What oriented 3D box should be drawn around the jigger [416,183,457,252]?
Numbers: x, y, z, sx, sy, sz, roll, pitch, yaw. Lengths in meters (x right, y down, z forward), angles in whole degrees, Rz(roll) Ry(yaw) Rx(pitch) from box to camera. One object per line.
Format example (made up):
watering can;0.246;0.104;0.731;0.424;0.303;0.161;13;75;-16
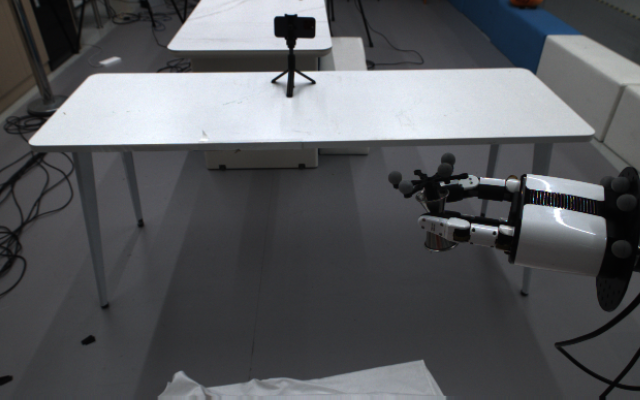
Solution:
jigger;0.144;0.023;0.594;0.043;0.071;0.043;-14;21;6
